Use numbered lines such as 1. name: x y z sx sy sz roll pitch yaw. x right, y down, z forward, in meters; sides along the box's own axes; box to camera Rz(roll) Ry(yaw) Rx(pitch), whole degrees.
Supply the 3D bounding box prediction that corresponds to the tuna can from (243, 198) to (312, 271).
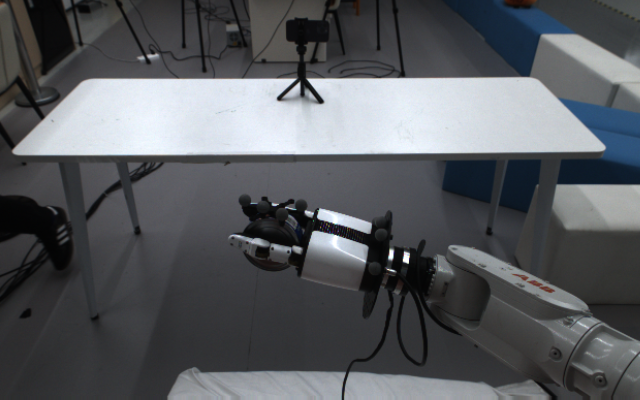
1. tuna can: -0.066 0.057 0.694 0.085 0.085 0.034 6 22 6
